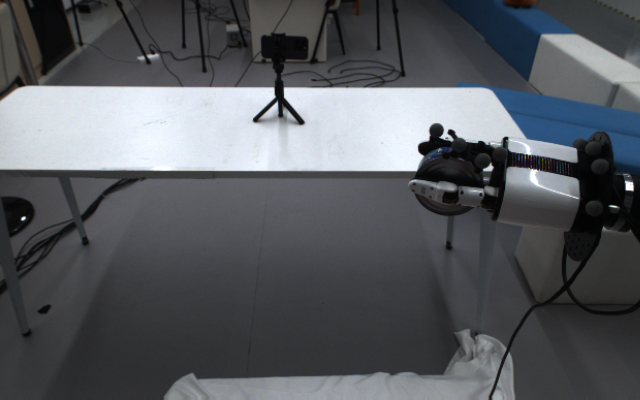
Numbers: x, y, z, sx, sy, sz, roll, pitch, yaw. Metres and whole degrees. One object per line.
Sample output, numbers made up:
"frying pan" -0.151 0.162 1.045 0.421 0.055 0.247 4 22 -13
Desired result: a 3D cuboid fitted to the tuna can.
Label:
"tuna can" 0.167 -0.026 0.619 0.085 0.085 0.034 12 33 14
